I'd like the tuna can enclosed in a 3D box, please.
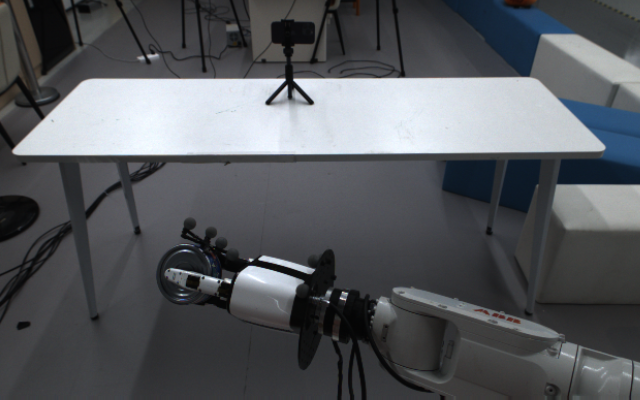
[{"bbox_3d":[-0.183,0.104,0.677,0.085,0.085,0.034,12,-5,14],"label":"tuna can"}]
